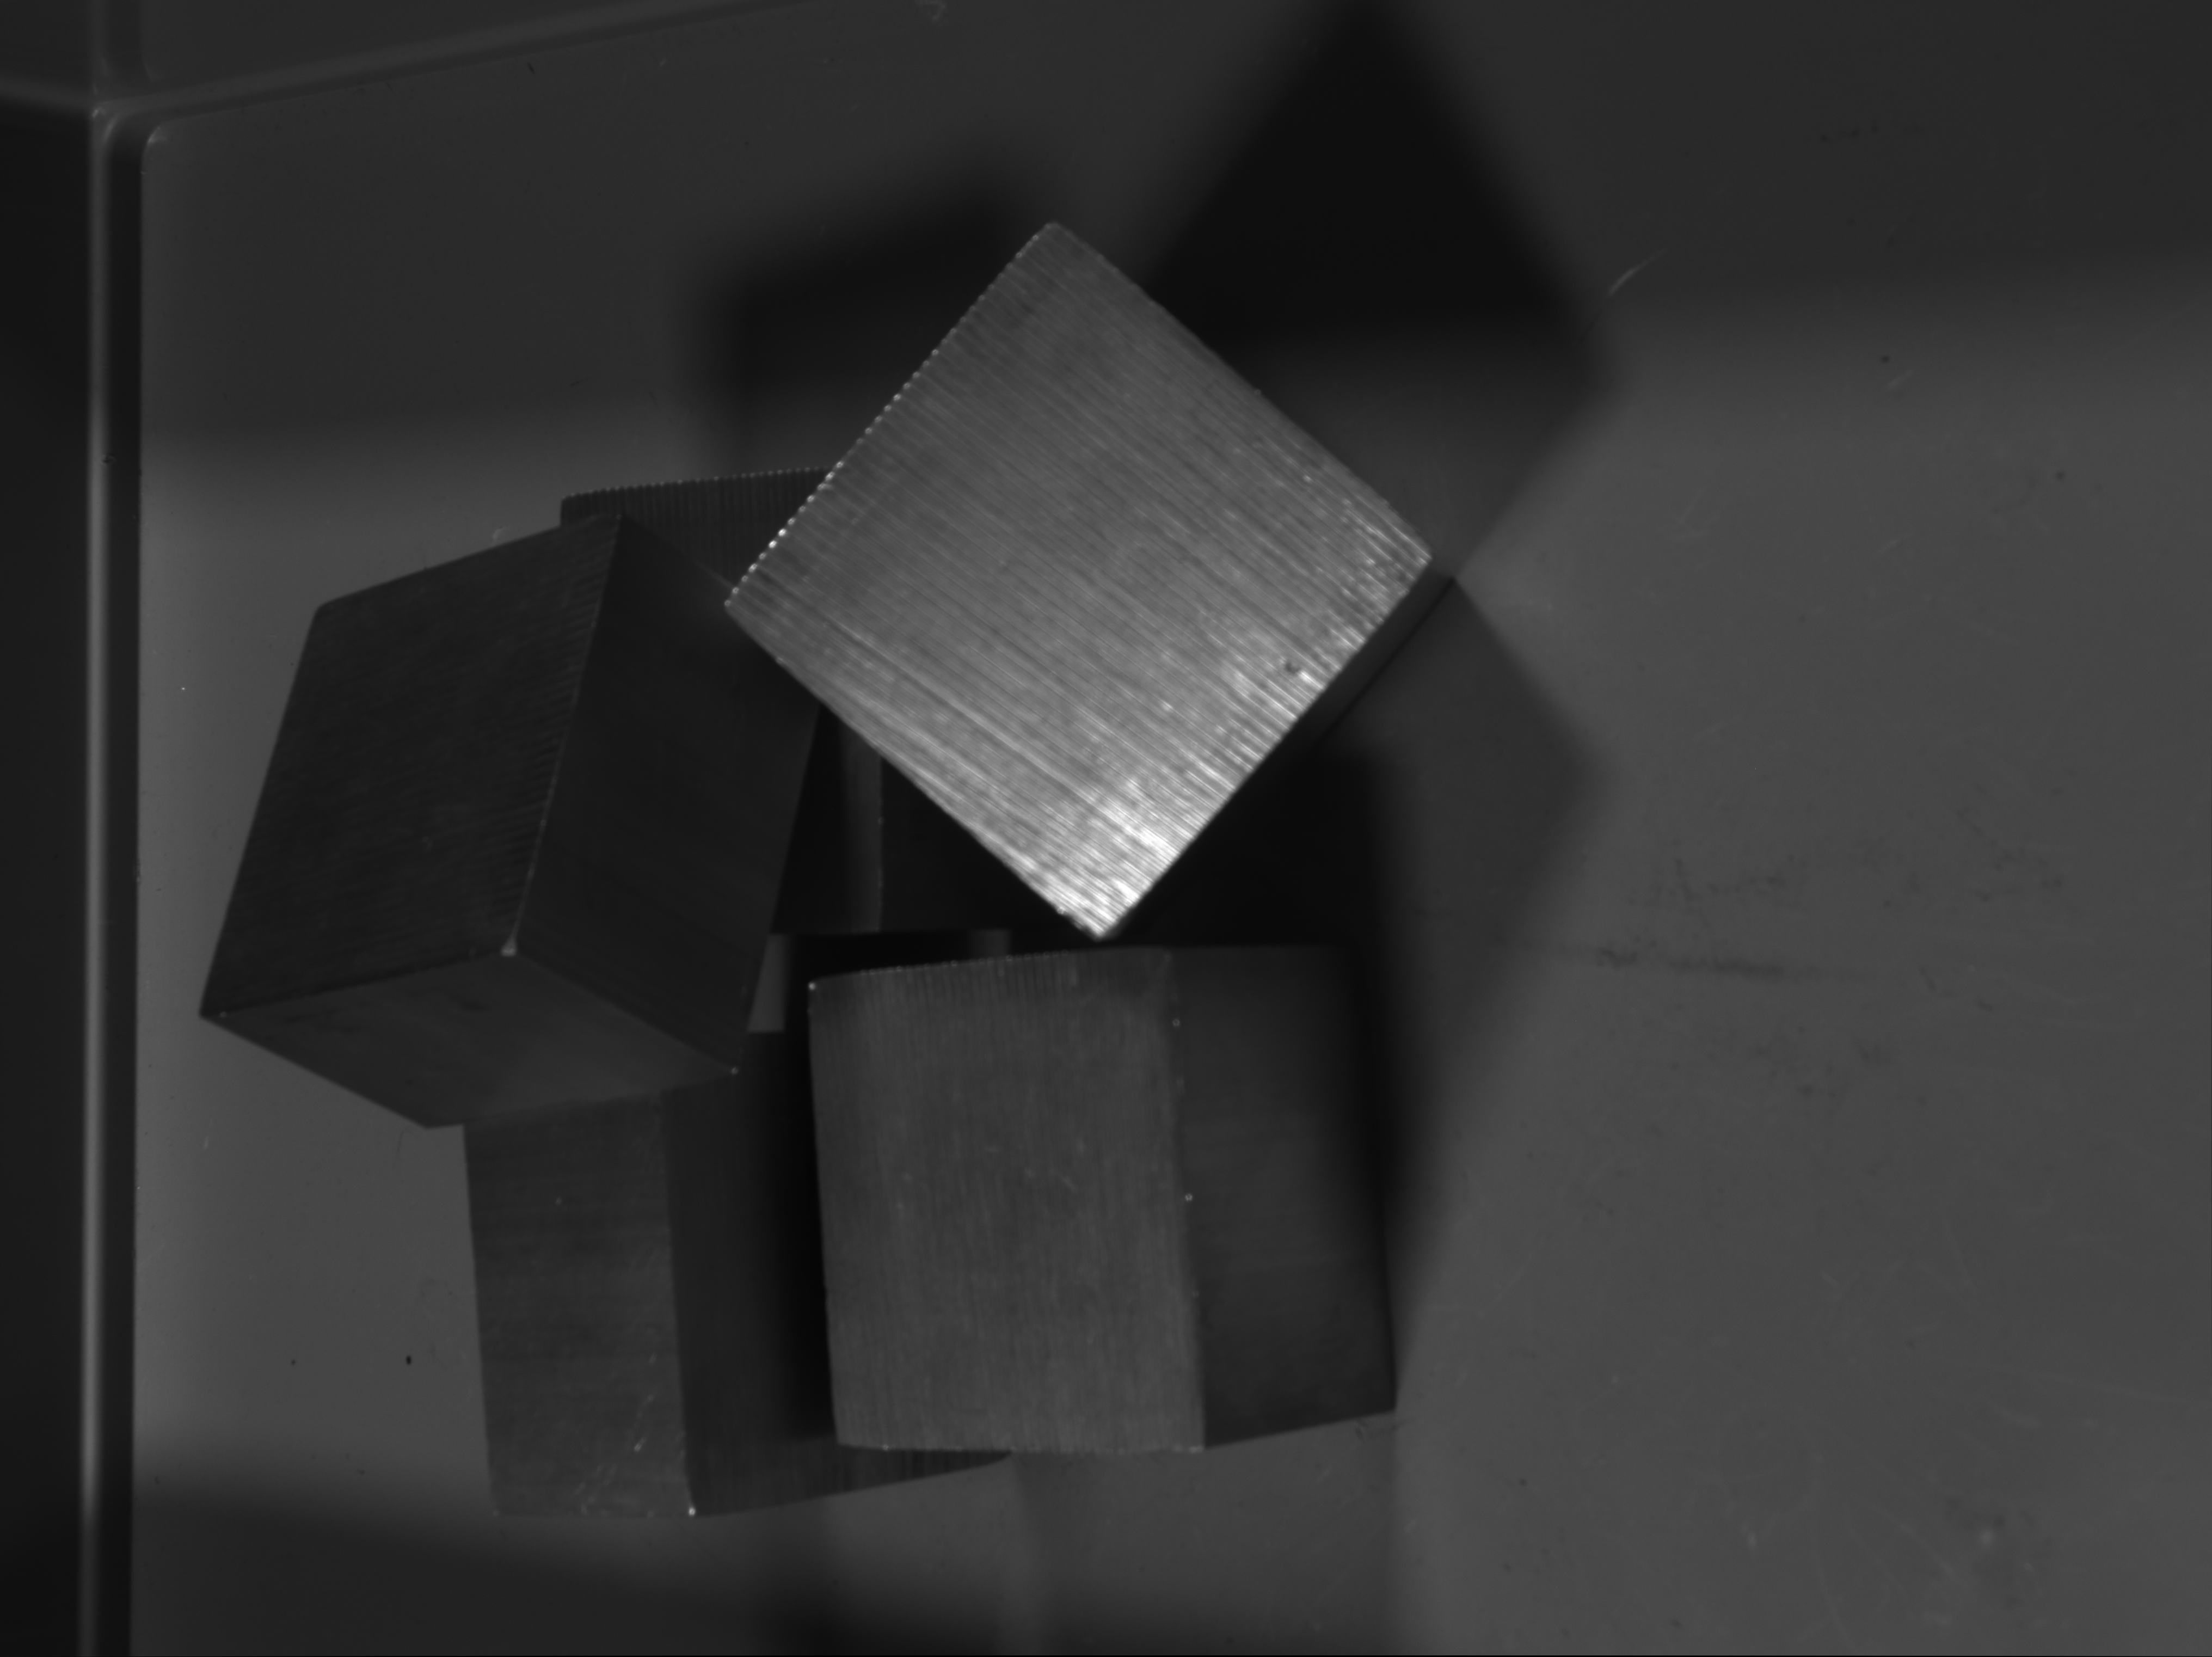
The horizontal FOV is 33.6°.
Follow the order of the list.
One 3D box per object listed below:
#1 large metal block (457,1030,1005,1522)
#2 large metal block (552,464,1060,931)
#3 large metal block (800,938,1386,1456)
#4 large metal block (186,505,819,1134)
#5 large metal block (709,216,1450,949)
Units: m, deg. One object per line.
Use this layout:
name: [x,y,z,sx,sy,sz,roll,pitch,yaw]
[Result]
large metal block: [-0.067,0.078,0.653,0.050,0.080,0.080,-9,84,39]
large metal block: [-0.054,-0.022,0.663,0.080,0.050,0.080,-2,89,39]
large metal block: [-0.003,0.062,0.618,0.080,0.050,0.080,-7,85,39]
large metal block: [-0.100,0.001,0.617,0.080,0.050,0.080,-12,57,39]
large metal block: [-0.003,-0.038,0.588,0.080,0.050,0.080,42,95,6]
